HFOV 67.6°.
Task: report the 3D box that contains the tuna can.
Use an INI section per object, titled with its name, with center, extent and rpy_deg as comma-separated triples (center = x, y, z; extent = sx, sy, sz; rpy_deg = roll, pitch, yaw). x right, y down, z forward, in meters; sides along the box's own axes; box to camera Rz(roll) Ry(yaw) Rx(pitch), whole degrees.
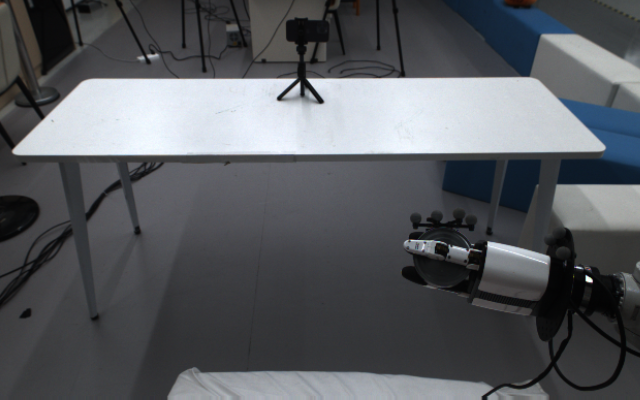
[tuna can]
center = 0.181, 0.082, 0.704
extent = 0.085, 0.034, 0.085
rpy_deg = -4, 72, 11
